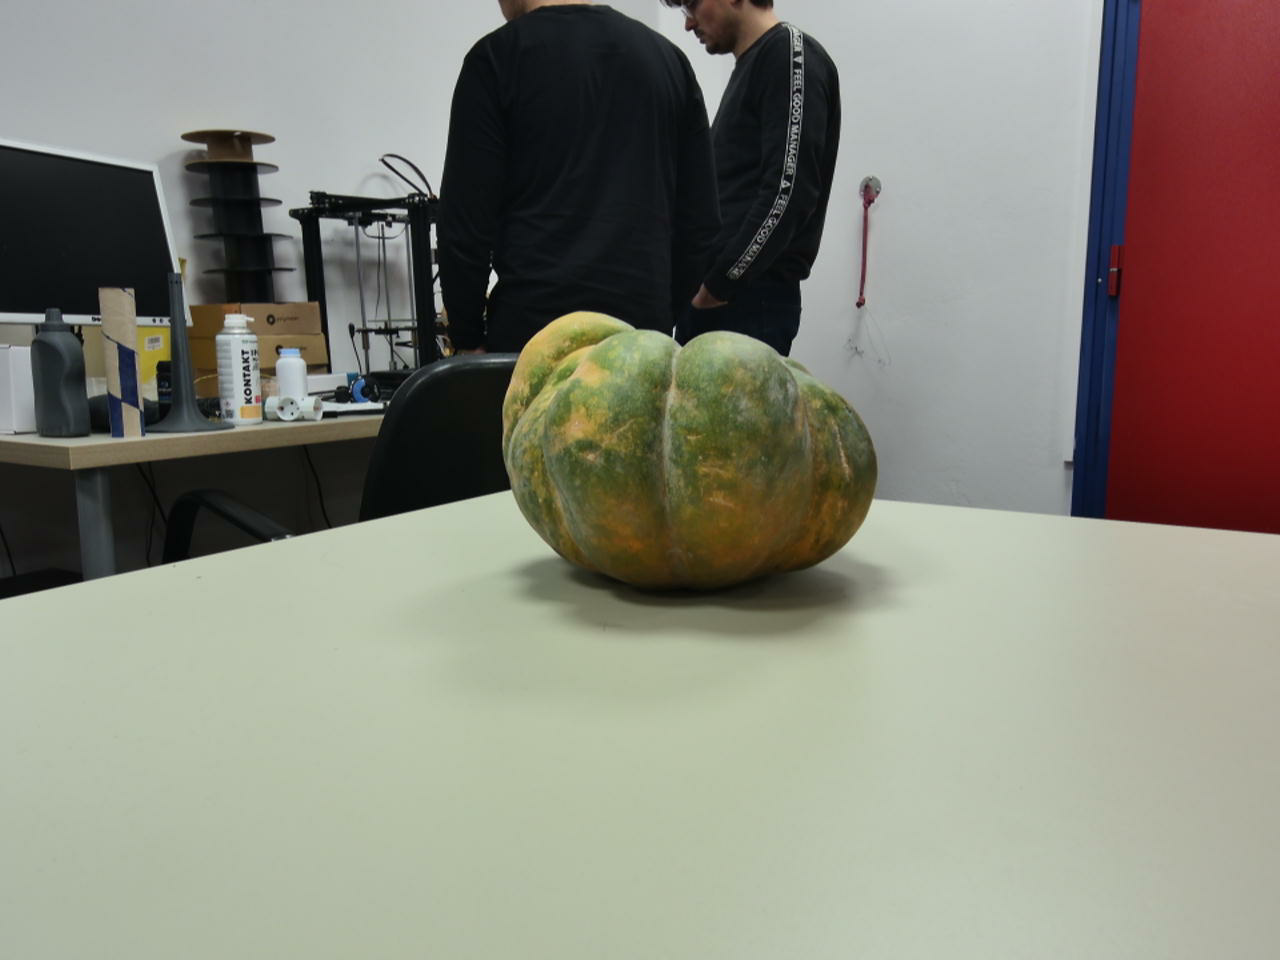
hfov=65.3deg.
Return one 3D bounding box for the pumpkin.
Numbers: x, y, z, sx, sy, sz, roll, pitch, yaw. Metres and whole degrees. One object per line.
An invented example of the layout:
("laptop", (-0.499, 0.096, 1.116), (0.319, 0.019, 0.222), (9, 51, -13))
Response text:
("pumpkin", (0.031, -0.022, 0.658), (0.237, 0.173, 0.270), (-2, 7, -18))
